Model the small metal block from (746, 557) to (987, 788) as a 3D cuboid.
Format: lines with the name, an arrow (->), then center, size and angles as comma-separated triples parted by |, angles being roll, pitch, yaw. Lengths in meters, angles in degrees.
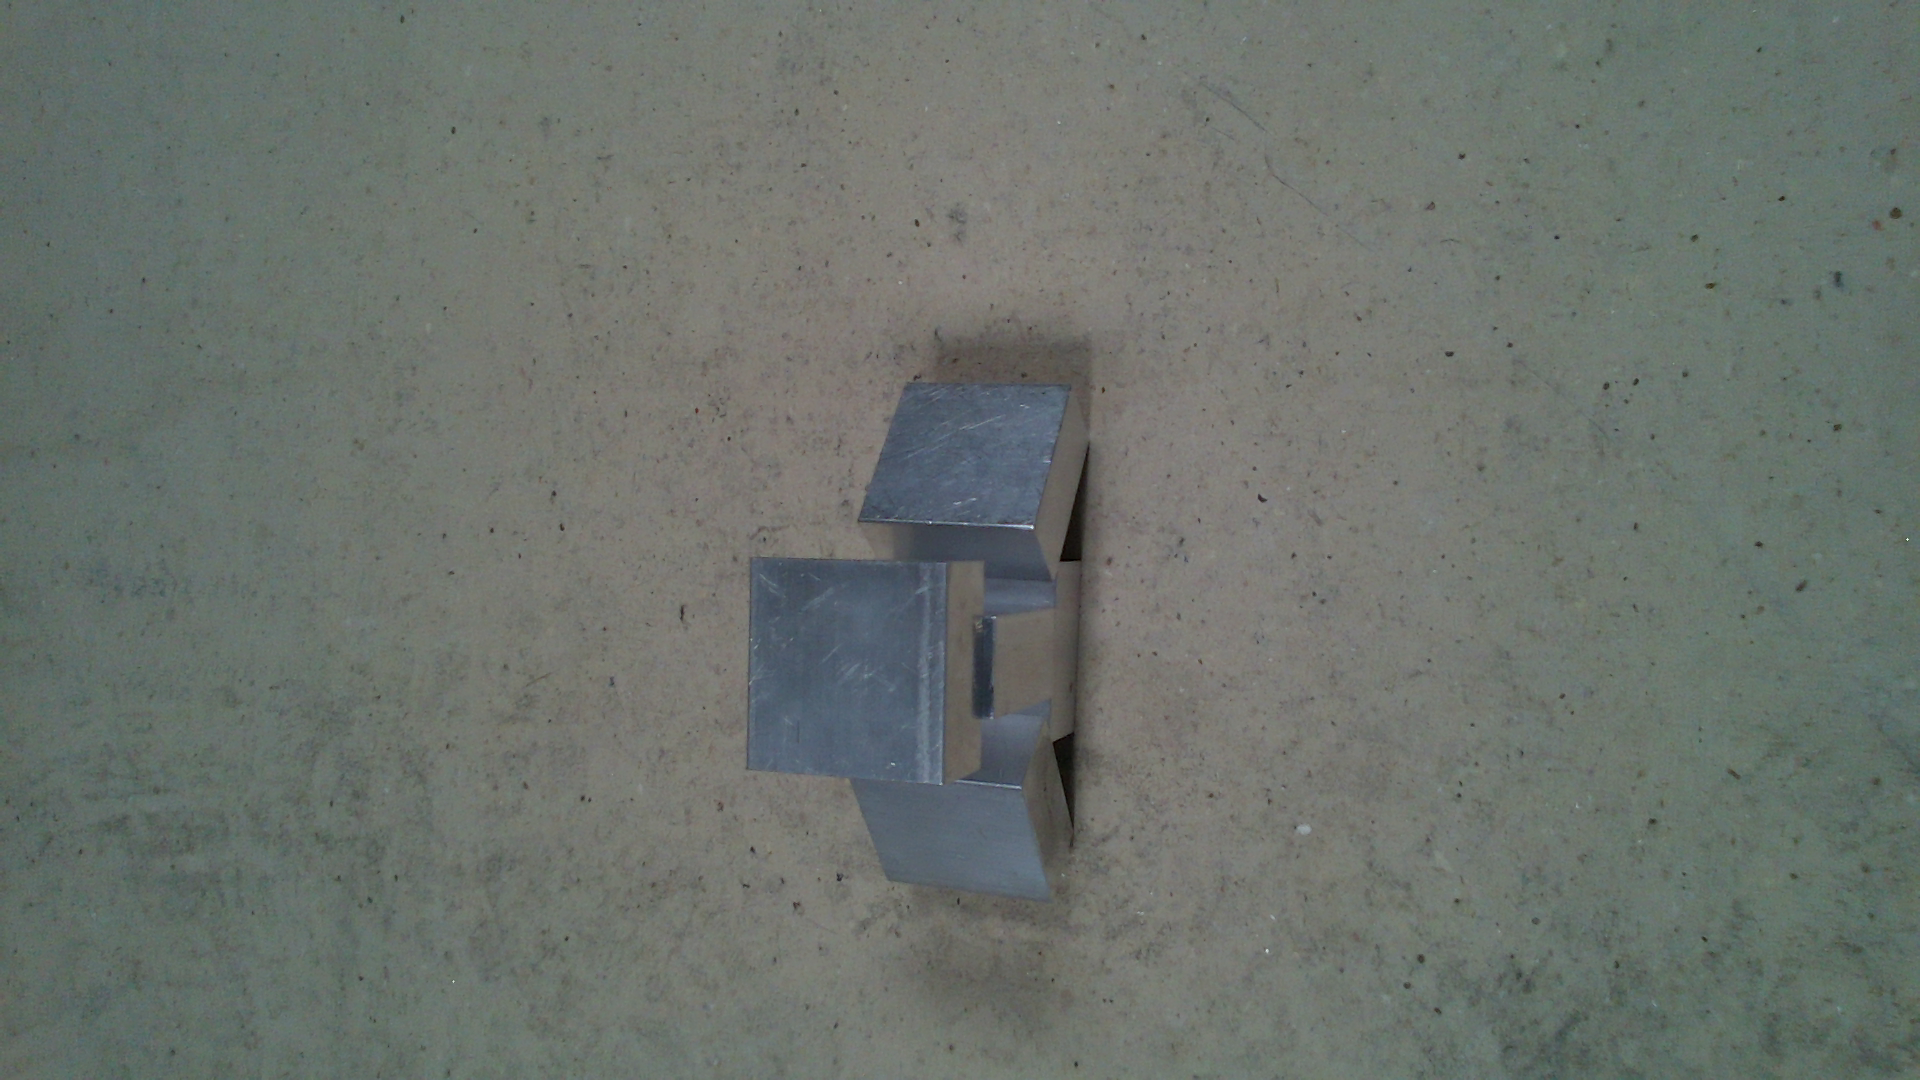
small metal block -> -0.022, 0.029, 0.324 | 0.050, 0.025, 0.050 | 1, 90, 20

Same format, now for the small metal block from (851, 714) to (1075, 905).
small metal block -> 0.001, 0.073, 0.382 | 0.050, 0.025, 0.050 | 2, 131, 20

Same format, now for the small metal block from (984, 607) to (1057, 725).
small metal block -> -0.006, 0.030, 0.358 | 0.050, 0.050, 0.025 | 2, 91, 20

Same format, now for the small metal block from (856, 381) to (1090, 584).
small metal block -> 0.005, -0.017, 0.382 | 0.050, 0.025, 0.050 | 3, 55, 20

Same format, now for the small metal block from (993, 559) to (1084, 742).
small metal block -> 0.007, 0.029, 0.394 | 0.050, 0.025, 0.050 | 2, 91, 20
